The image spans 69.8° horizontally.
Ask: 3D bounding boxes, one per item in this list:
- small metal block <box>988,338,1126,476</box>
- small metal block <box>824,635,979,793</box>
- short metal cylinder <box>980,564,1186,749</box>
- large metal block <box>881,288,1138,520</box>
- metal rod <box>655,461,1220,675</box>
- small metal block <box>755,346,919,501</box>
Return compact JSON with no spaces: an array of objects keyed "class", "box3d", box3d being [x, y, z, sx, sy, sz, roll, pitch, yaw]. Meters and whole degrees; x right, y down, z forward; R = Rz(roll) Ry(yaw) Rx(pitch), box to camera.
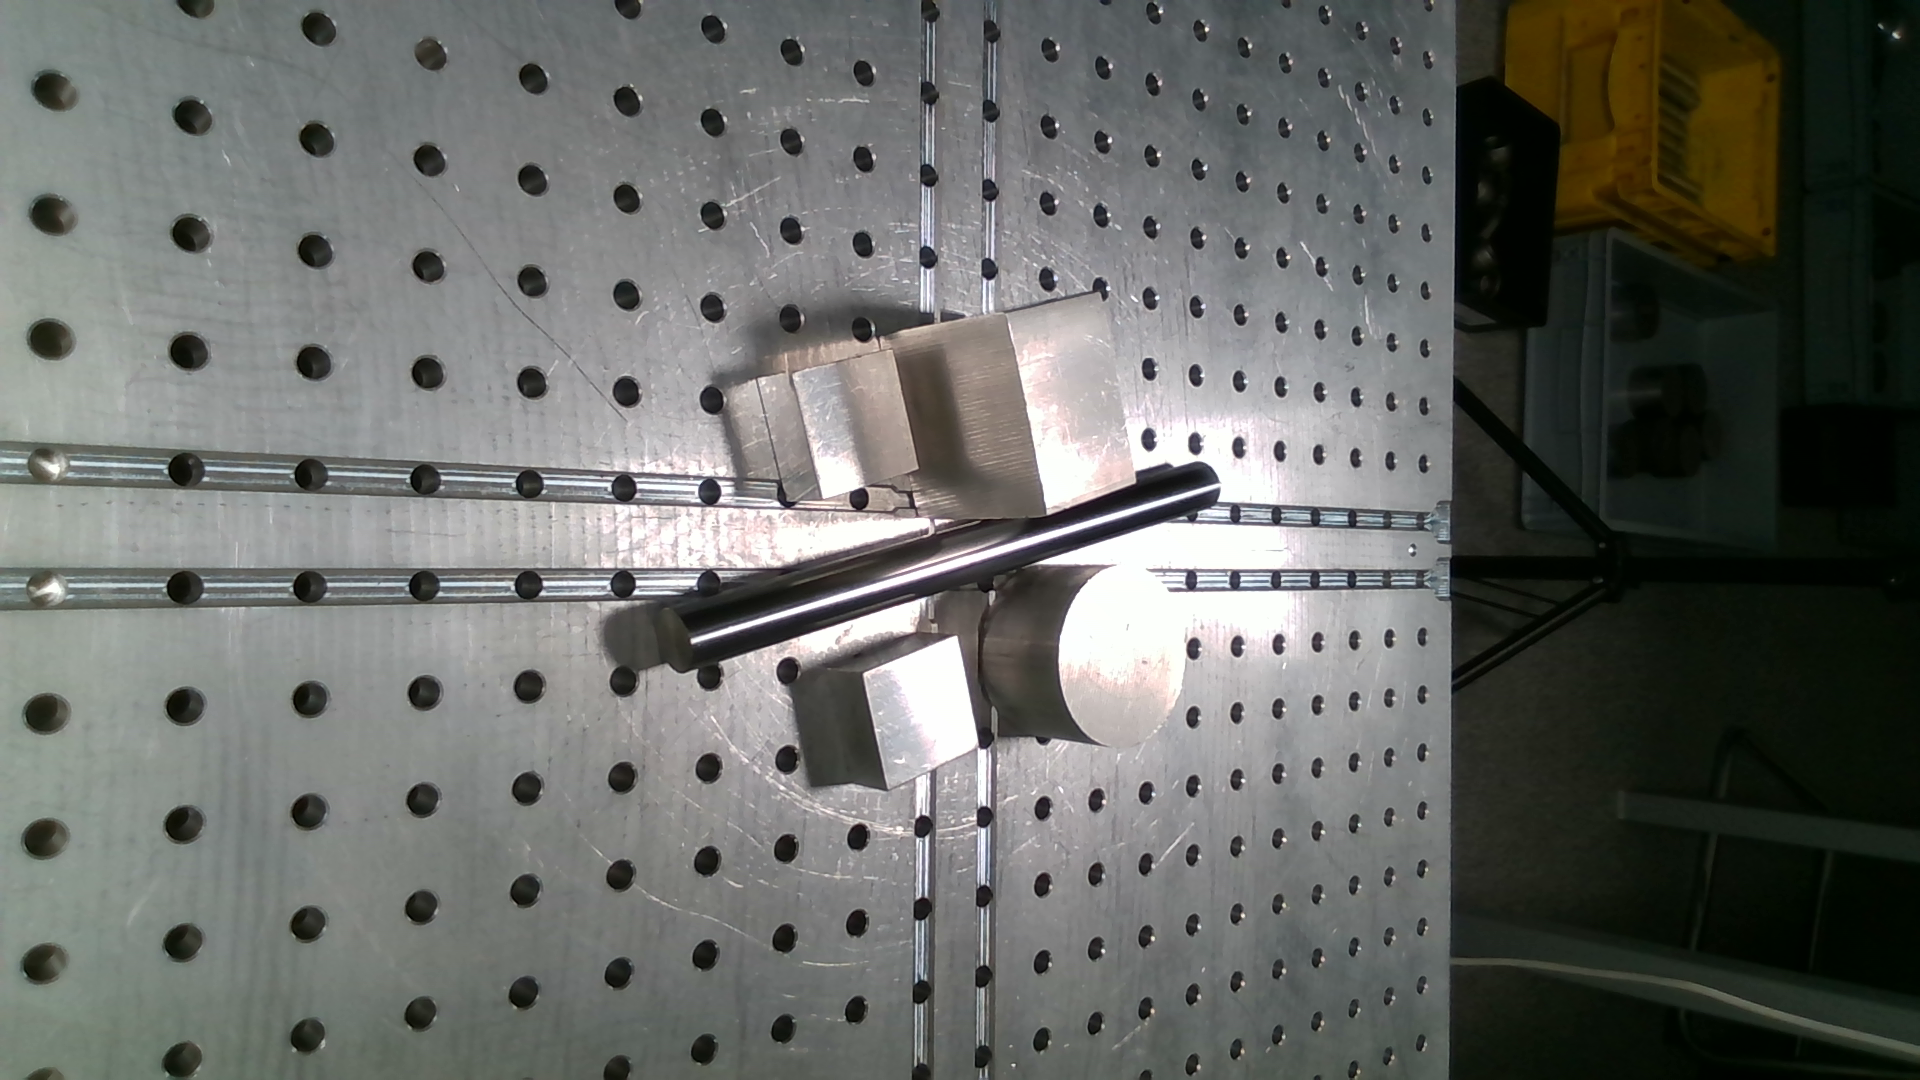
[{"class":"small metal block","box3d":[0.045,-0.060,0.624,0.050,0.025,0.050,-22,104,-38]},{"class":"small metal block","box3d":[-0.023,0.070,0.566,0.050,0.025,0.050,-19,102,-39]},{"class":"short metal cylinder","box3d":[0.056,0.051,0.616,0.080,0.050,0.080,0,90,-40]},{"class":"large metal block","box3d":[0.020,-0.054,0.565,0.050,0.080,0.080,-20,103,-38]},{"class":"metal rod","box3d":[0.008,0.005,0.593,0.300,0.025,0.025,-16,100,-39]},{"class":"small metal block","box3d":[-0.048,-0.046,0.546,0.050,0.025,0.050,-20,103,-38]}]
